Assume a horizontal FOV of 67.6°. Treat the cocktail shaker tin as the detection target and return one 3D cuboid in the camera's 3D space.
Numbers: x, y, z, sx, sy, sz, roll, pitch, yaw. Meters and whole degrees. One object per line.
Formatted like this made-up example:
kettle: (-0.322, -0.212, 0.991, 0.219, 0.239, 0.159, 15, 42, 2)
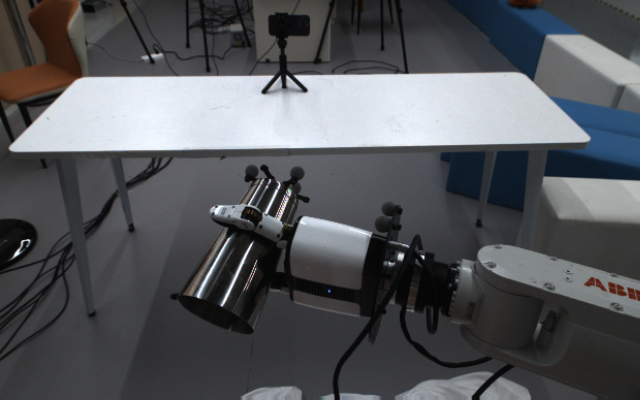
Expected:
cocktail shaker tin: (-0.087, 0.059, 0.572, 0.093, 0.093, 0.170, 14, 58, 16)
